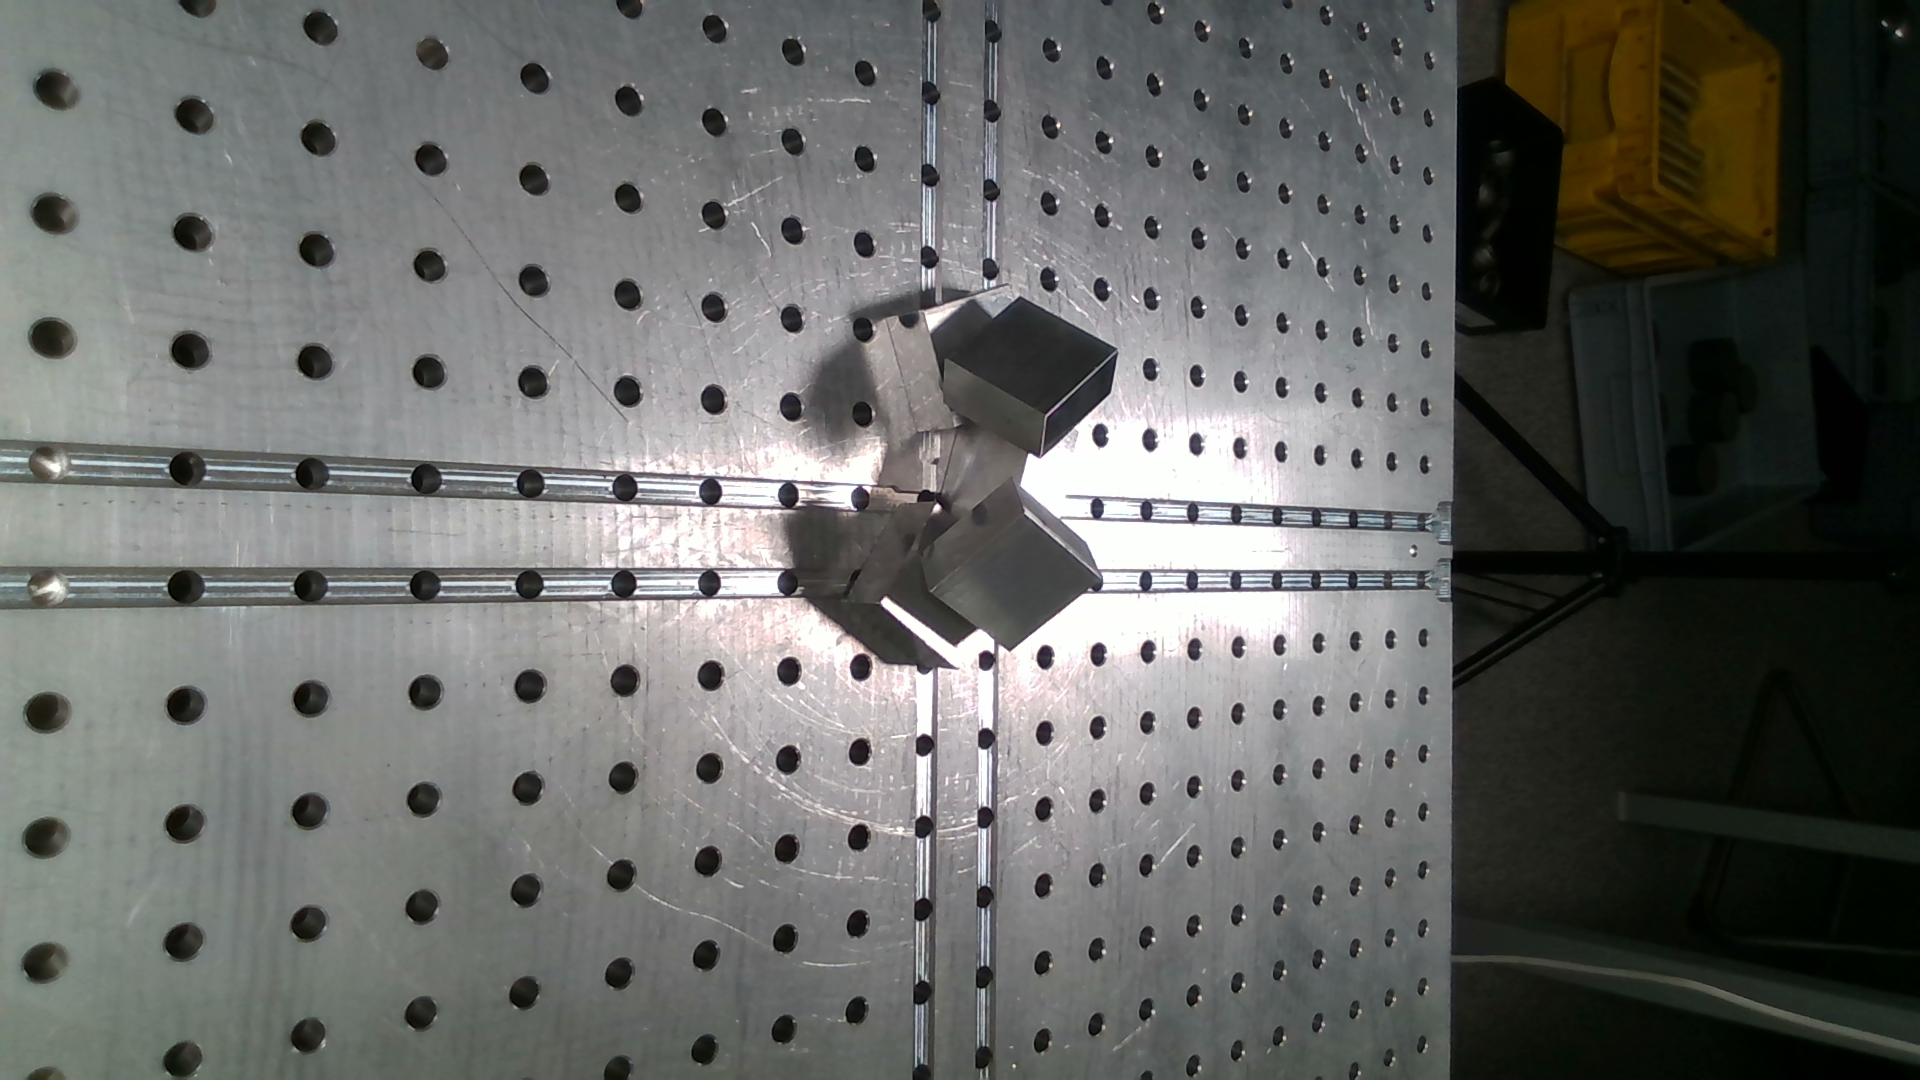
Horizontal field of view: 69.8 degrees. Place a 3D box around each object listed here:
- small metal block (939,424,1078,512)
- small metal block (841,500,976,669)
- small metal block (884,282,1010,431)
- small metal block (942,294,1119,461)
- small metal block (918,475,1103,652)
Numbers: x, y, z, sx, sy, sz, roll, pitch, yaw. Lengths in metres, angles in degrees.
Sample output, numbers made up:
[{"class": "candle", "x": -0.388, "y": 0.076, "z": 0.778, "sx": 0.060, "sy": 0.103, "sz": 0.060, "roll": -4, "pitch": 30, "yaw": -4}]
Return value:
[{"class": "small metal block", "x": 0.019, "y": -0.027, "z": 0.586, "sx": 0.025, "sy": 0.050, "sz": 0.050, "roll": 24, "pitch": 75, "yaw": -38}, {"class": "small metal block", "x": -0.014, "y": 0.019, "z": 0.575, "sx": 0.050, "sy": 0.025, "sz": 0.050, "roll": 43, "pitch": 64, "yaw": -32}, {"class": "small metal block", "x": 0.001, "y": -0.078, "z": 0.587, "sx": 0.050, "sy": 0.025, "sz": 0.050, "roll": -25, "pitch": 106, "yaw": -37}, {"class": "small metal block", "x": 0.028, "y": -0.067, "z": 0.557, "sx": 0.050, "sy": 0.050, "sz": 0.025, "roll": -44, "pitch": 155, "yaw": -31}, {"class": "small metal block", "x": 0.020, "y": 0.010, "z": 0.552, "sx": 0.050, "sy": 0.025, "sz": 0.050, "roll": -40, "pitch": 126, "yaw": 17}]
